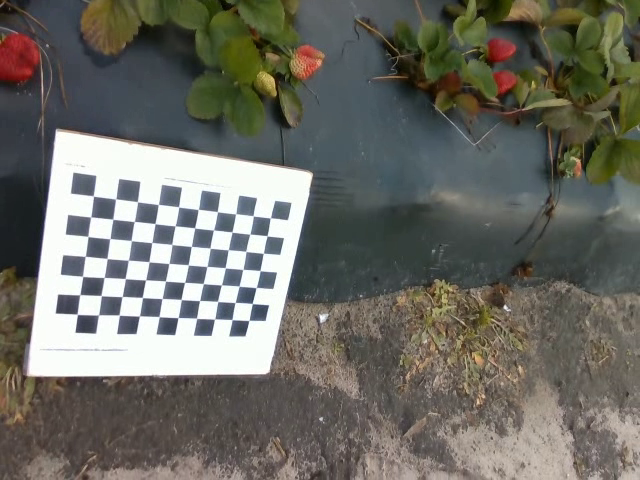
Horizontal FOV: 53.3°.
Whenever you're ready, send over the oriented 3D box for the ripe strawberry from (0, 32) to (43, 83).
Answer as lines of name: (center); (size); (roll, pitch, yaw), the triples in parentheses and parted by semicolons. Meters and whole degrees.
ripe strawberry: (-0.083, -0.049, 0.174); (0.015, 0.017, 0.013); (34, 3, 15)
